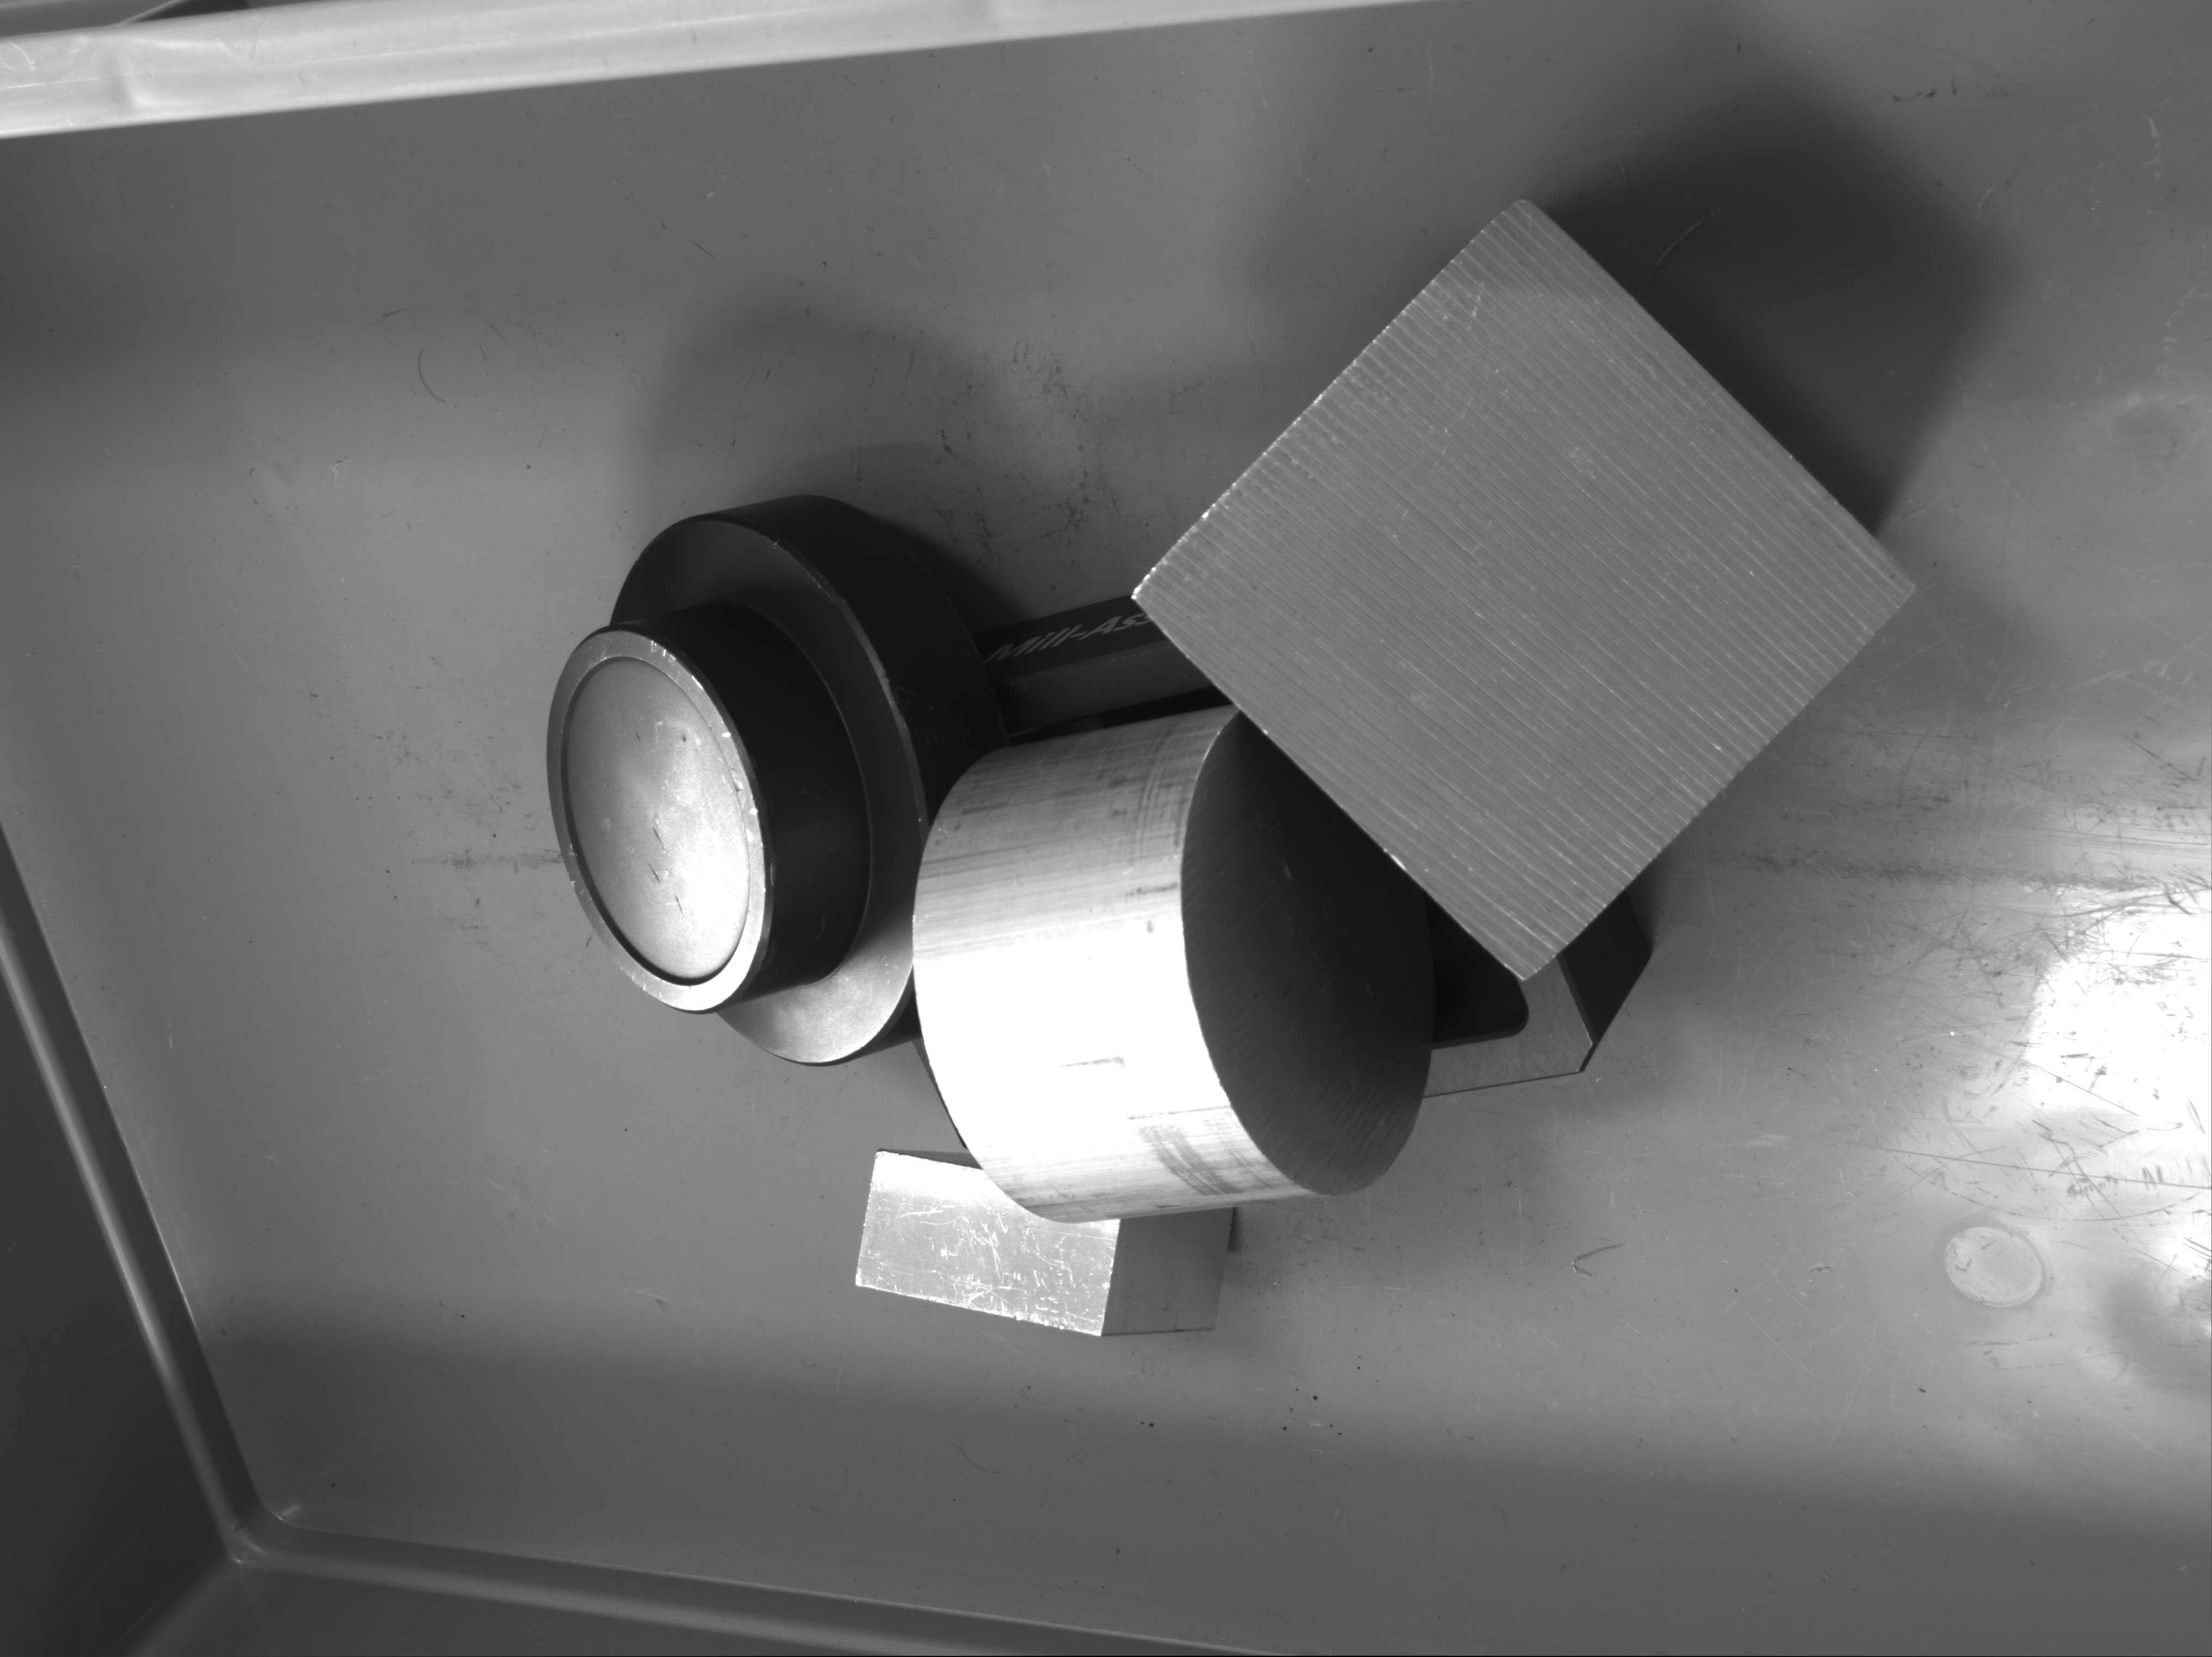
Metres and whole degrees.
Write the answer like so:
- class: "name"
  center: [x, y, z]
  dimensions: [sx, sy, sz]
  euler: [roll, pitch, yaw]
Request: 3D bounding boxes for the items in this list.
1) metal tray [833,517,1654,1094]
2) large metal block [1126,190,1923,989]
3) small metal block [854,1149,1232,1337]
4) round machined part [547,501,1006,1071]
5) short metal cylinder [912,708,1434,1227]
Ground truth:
- class: "metal tray"
  center: [0.018, 0.005, 0.633]
  dimensions: [0.130, 0.030, 0.090]
  euler: [-12, 112, 33]
- class: "large metal block"
  center: [0.060, -0.035, 0.546]
  dimensions: [0.080, 0.050, 0.080]
  euler: [43, 93, -2]
- class: "small metal block"
  center: [-0.011, 0.076, 0.674]
  dimensions: [0.050, 0.050, 0.025]
  euler: [8, 87, 25]
- class: "round machined part"
  center: [-0.061, -0.005, 0.636]
  dimensions: [0.098, 0.042, 0.098]
  euler: [22, 119, 47]
- class: "short metal cylinder"
  center: [0.012, 0.022, 0.597]
  dimensions: [0.050, 0.080, 0.080]
  euler: [-10, 113, 32]
